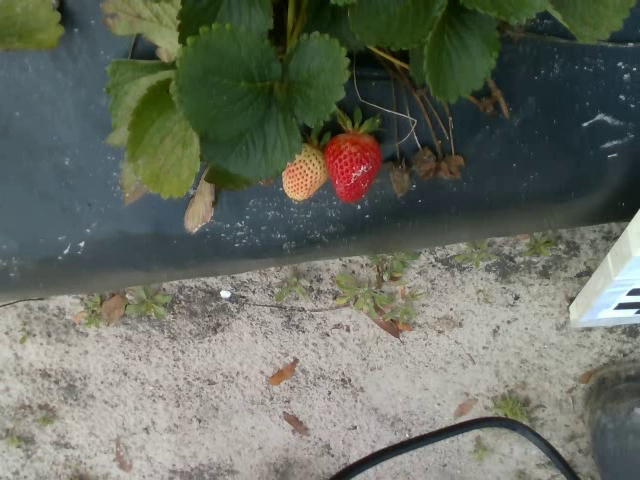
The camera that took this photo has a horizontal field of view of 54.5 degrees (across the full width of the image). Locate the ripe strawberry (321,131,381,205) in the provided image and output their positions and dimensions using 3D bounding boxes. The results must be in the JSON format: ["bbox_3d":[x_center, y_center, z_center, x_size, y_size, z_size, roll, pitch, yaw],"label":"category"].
[{"bbox_3d":[0.017,-0.038,0.326,0.034,0.042,0.033,7,7,-18],"label":"ripe strawberry"}]
